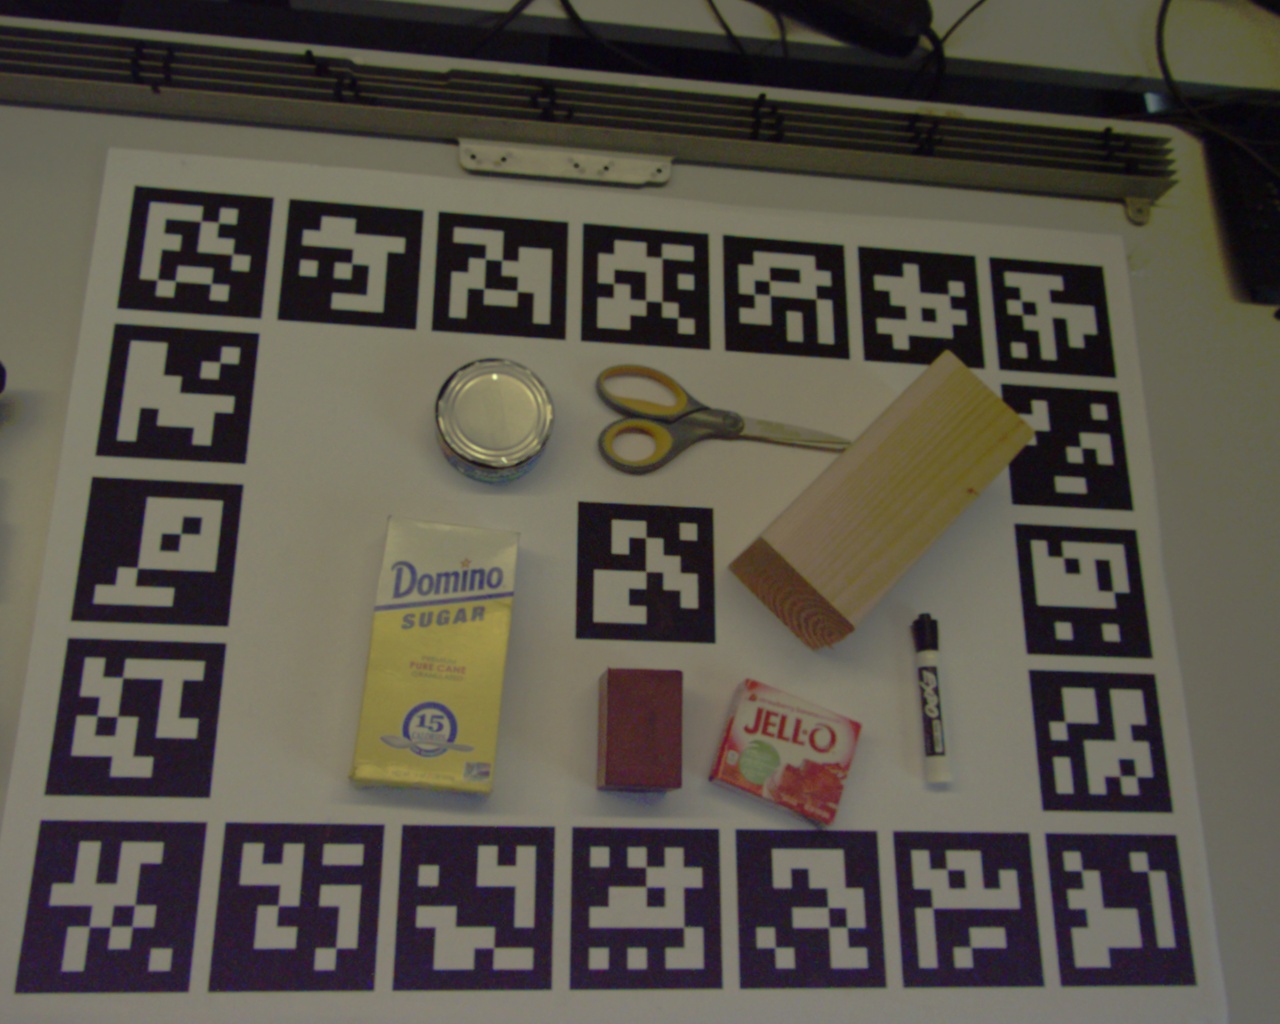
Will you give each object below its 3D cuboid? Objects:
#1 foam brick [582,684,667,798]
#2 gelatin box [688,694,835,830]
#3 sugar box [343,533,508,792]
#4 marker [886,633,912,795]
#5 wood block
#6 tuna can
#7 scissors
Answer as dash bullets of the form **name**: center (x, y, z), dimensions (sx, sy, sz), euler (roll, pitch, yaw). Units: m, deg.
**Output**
- **foam brick**: center (-0.011, 0.164, 0.812), dimensions (0.052, 0.051, 0.078), euler (5, 75, -7)
- **gelatin box**: center (0.089, 0.183, 0.836), dimensions (0.089, 0.030, 0.073), euler (22, 74, -2)
- **sugar box**: center (-0.151, 0.107, 0.816), dimensions (0.092, 0.045, 0.176), euler (8, 74, -7)
- **marker**: center (0.197, 0.152, 0.864), dimensions (0.019, 0.020, 0.121), euler (5, 77, -8)
- **wood block**: center (0.168, 0.012, 0.865), dimensions (0.205, 0.091, 0.090), euler (-43, 84, -17)
- **tuna can**: center (-0.121, -0.054, 0.865), dimensions (0.085, 0.034, 0.086), euler (2, 76, -8)
- **scissors**: center (0.048, -0.048, 0.900), dimensions (0.202, 0.016, 0.088), euler (10, 74, -3)
